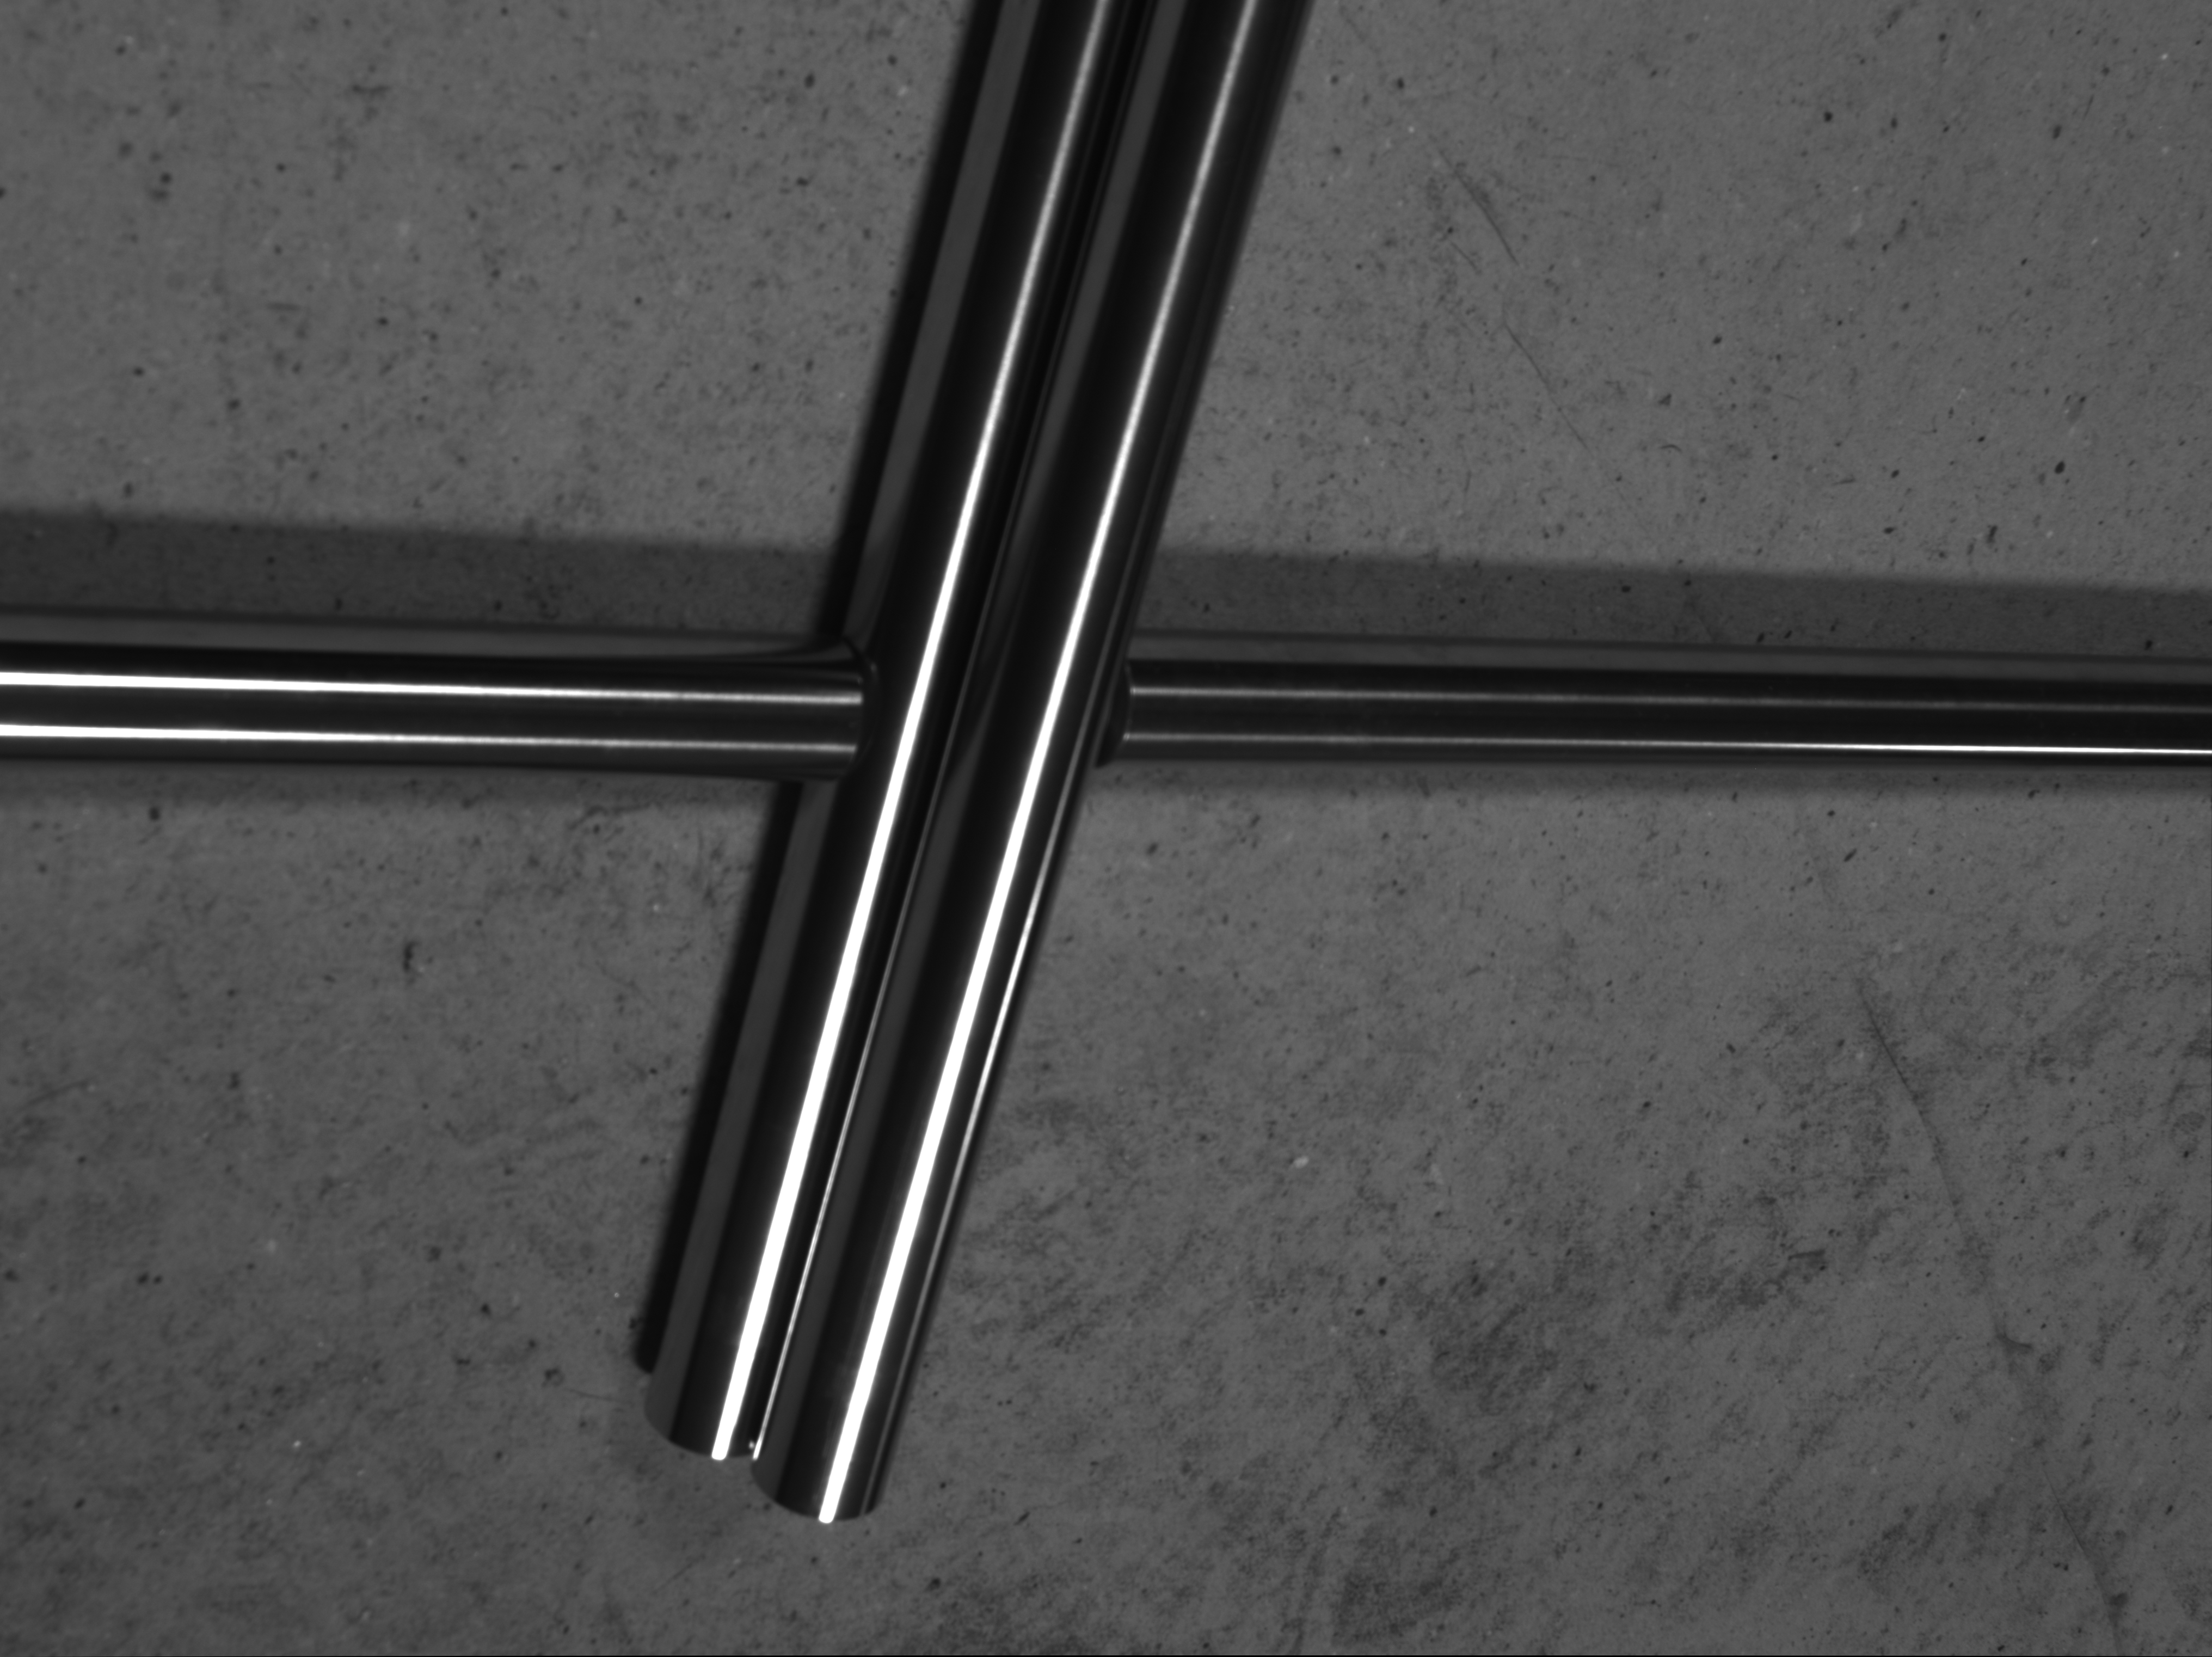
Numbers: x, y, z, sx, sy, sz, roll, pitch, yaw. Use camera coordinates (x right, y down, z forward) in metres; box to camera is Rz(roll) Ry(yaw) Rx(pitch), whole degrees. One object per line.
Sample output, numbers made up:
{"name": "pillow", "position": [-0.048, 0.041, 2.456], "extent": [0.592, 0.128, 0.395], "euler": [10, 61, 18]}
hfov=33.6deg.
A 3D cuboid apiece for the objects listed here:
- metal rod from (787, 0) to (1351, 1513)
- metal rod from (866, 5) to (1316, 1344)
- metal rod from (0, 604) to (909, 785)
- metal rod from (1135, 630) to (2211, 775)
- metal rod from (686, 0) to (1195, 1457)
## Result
{"name": "metal rod", "position": [-0.008, -0.015, 0.611], "extent": [0.025, 0.025, 0.300], "euler": [1, 117, -31]}
{"name": "metal rod", "position": [-0.008, -0.018, 0.637], "extent": [0.025, 0.025, 0.300], "euler": [1, 117, -31]}
{"name": "metal rod", "position": [-0.168, -0.021, 0.540], "extent": [0.301, 0.025, 0.025], "euler": [0, 118, -31]}
{"name": "metal rod", "position": [0.135, -0.023, 0.715], "extent": [0.301, 0.025, 0.025], "euler": [0, 118, -30]}
{"name": "metal rod", "position": [-0.028, -0.023, 0.622], "extent": [0.025, 0.025, 0.300], "euler": [1, 117, -31]}
